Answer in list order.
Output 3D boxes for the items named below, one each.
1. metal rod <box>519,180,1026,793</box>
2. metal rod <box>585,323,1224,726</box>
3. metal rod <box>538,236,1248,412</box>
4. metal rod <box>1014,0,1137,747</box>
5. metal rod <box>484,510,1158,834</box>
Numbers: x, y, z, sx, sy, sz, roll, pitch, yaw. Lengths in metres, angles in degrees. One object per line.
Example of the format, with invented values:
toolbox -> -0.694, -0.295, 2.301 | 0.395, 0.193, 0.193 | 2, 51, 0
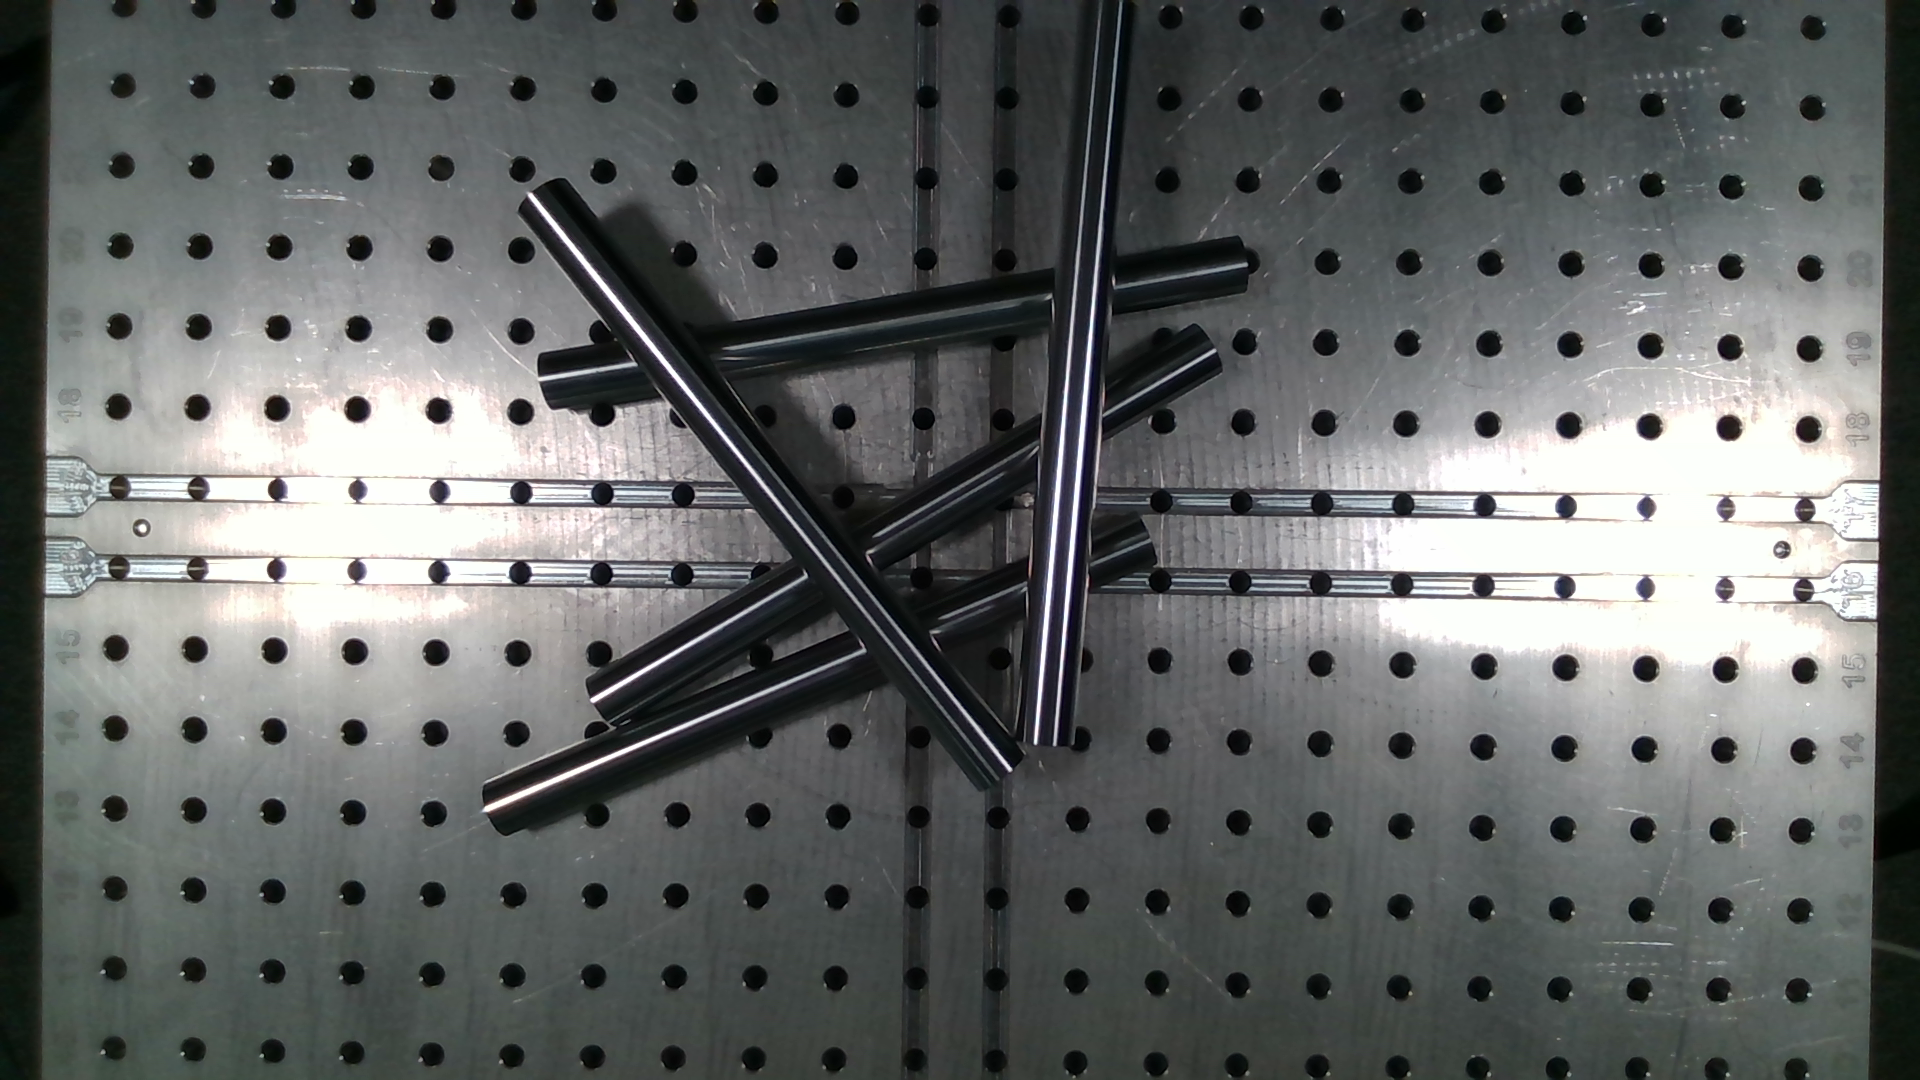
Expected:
metal rod -> -0.076, -0.021, 0.564 | 0.025, 0.025, 0.300 | -39, 90, 0
metal rod -> -0.024, -0.007, 0.589 | 0.300, 0.025, 0.025 | -30, 90, 0
metal rod -> -0.028, -0.092, 0.588 | 0.300, 0.025, 0.025 | -10, 90, 0
metal rod -> 0.047, -0.067, 0.564 | 0.025, 0.025, 0.300 | 5, 91, 0
metal rod -> -0.059, 0.056, 0.589 | 0.300, 0.025, 0.025 | -23, 90, 0
